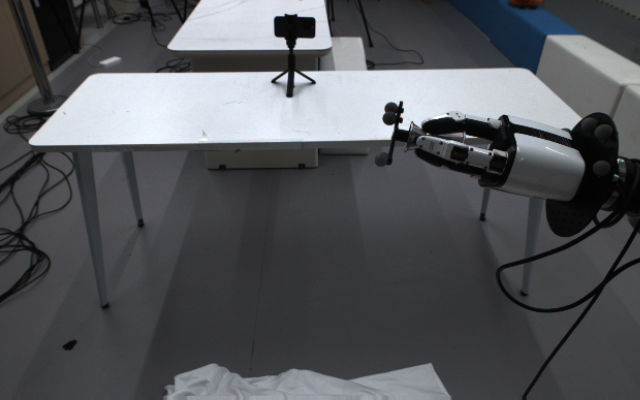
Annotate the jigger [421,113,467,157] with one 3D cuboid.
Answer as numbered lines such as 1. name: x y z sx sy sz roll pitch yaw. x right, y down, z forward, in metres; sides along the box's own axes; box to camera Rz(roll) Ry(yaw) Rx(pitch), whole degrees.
1. jigger: 0.152 -0.077 0.616 0.071 0.043 0.043 12 36 5
